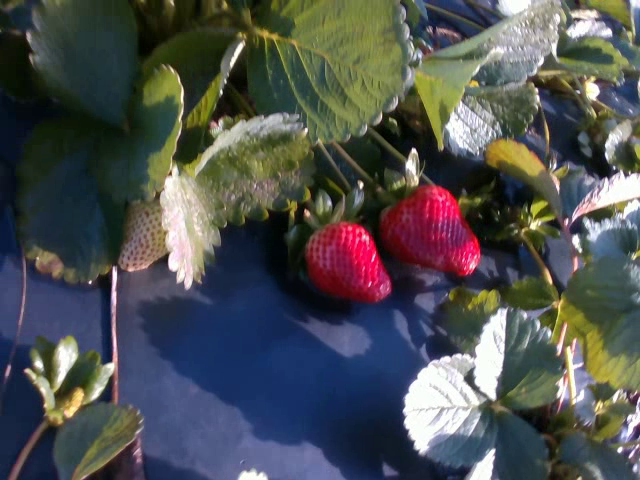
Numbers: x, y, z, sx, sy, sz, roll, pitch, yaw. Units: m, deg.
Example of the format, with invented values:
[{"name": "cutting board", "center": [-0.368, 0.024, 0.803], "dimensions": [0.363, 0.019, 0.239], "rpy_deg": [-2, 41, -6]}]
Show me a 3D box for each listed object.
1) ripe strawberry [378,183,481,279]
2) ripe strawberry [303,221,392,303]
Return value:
[{"name": "ripe strawberry", "center": [0.061, -0.002, 0.306], "dimensions": [0.052, 0.058, 0.046], "rpy_deg": [-39, -25, -11]}, {"name": "ripe strawberry", "center": [0.015, 0.013, 0.278], "dimensions": [0.051, 0.043, 0.037], "rpy_deg": [40, -8, 21]}]
